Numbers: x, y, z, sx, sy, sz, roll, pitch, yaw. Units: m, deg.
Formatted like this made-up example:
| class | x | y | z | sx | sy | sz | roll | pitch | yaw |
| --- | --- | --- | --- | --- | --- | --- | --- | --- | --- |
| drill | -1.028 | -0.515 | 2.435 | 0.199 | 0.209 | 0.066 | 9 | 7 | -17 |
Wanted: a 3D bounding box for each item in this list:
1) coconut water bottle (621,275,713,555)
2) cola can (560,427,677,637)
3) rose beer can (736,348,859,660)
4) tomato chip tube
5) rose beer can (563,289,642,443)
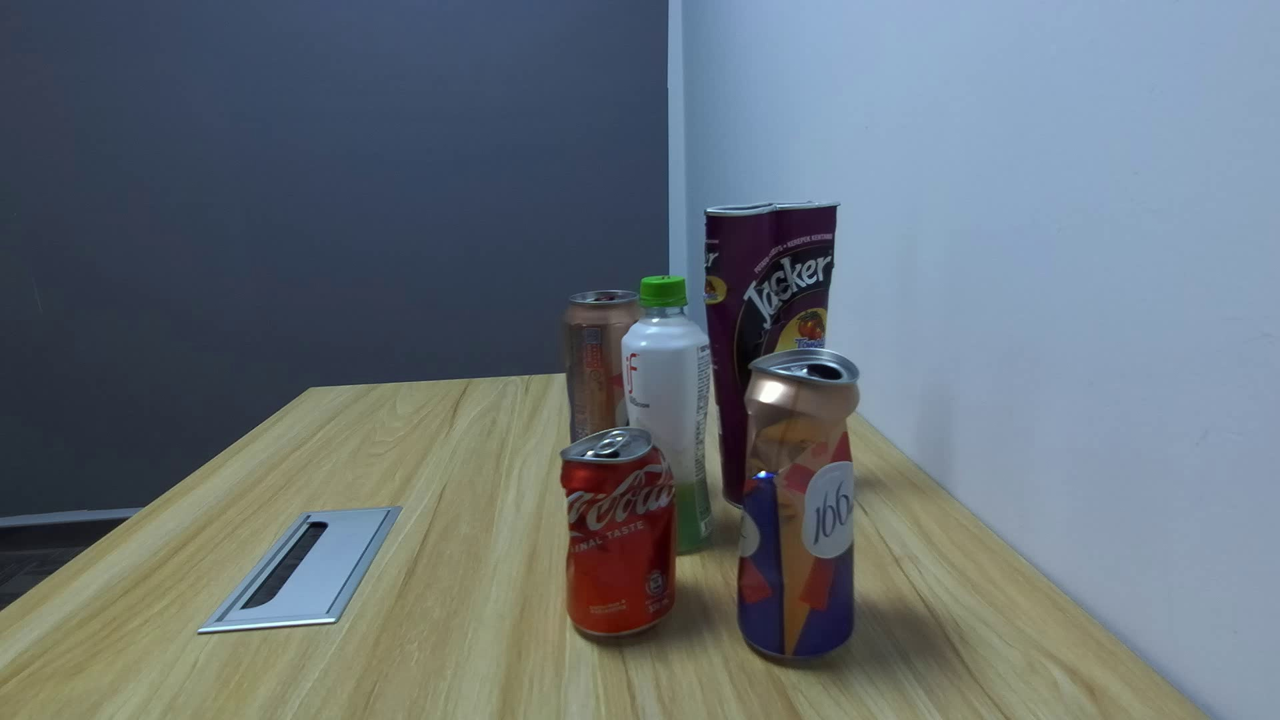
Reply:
| class | x | y | z | sx | sy | sz | roll | pitch | yaw |
| --- | --- | --- | --- | --- | --- | --- | --- | --- | --- |
| coconut water bottle | 0.018 | 0.037 | 0.494 | 0.063 | 0.188 | 0.063 | -2 | 12 | 1 |
| cola can | -0.013 | 0.099 | 0.415 | 0.069 | 0.112 | 0.065 | -8 | 17 | -19 |
| rose beer can | 0.085 | 0.078 | 0.384 | 0.068 | 0.162 | 0.073 | -2 | 17 | -1 |
| tomato chip tube | 0.101 | -0.001 | 0.548 | 0.090 | 0.235 | 0.078 | 5 | 15 | 20 |
| rose beer can | -0.024 | 0.035 | 0.570 | 0.068 | 0.169 | 0.068 | -4 | 11 | 1 |
